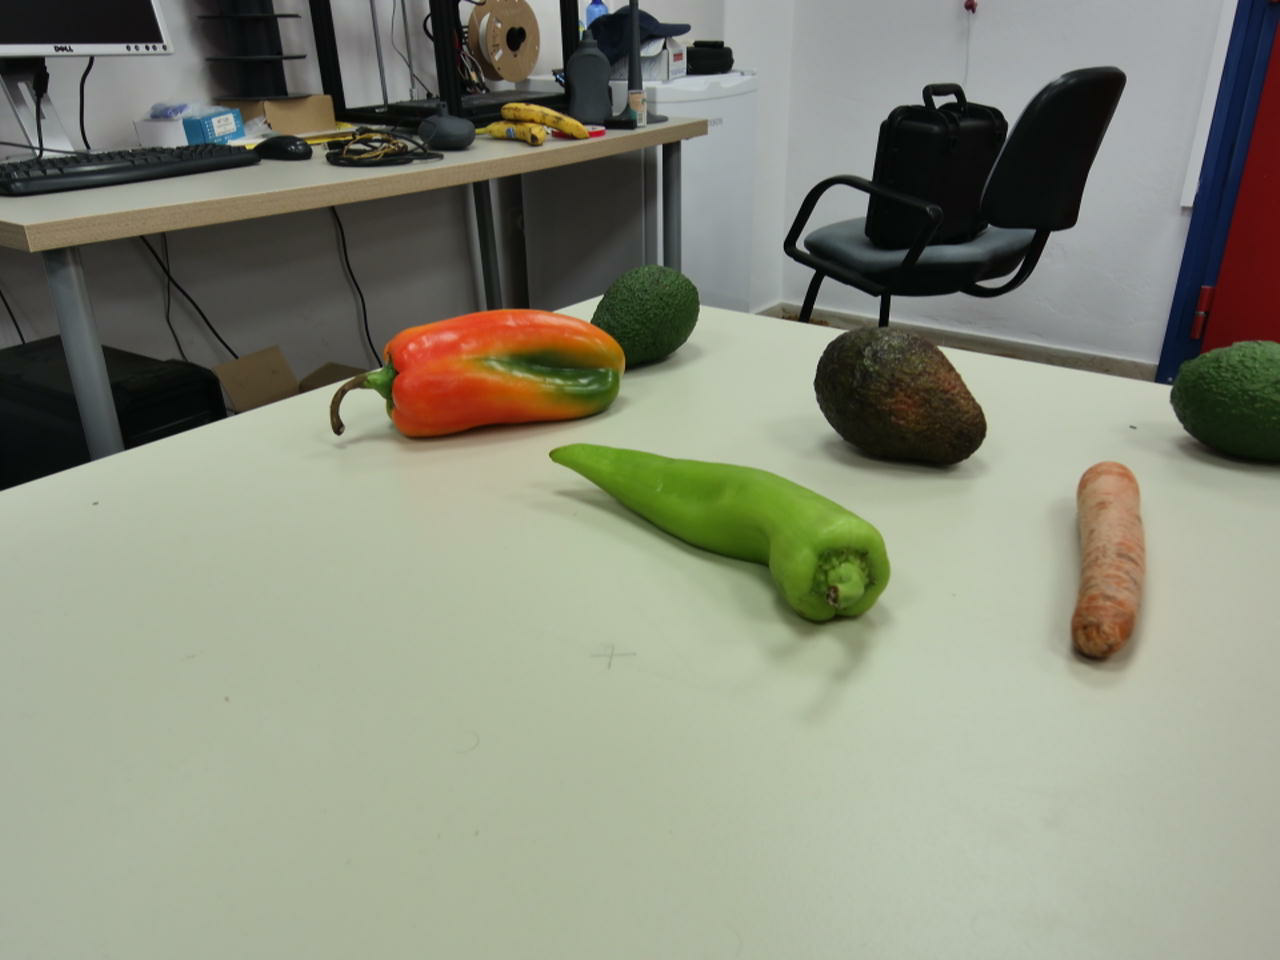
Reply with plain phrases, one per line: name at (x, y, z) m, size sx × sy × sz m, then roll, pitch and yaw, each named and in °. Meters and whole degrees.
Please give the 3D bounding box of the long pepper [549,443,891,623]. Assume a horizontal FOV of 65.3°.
long pepper at (0.038, 0.013, 0.457) m, size 0.065 × 0.045 × 0.205 m, roll -15°, pitch 27°, yaw -32°
